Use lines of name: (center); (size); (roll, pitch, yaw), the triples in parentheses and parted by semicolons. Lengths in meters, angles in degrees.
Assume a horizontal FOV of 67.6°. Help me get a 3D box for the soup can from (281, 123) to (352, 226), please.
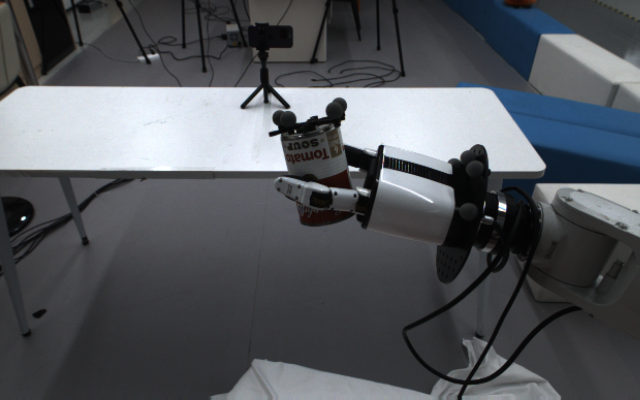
soup can: (0.001, -0.030, 0.540); (0.067, 0.101, 0.067); (-12, 17, 4)
